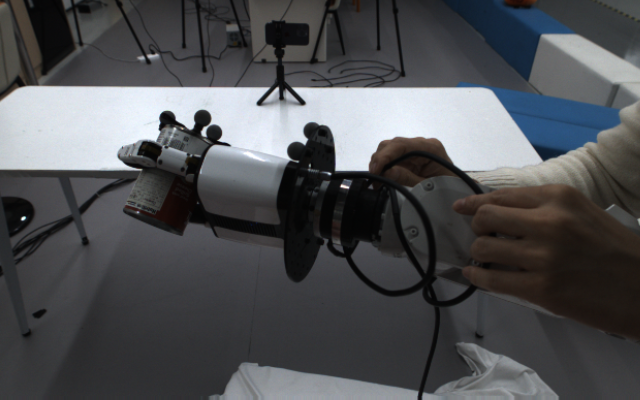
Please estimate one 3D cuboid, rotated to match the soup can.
[{"bbox_3d":[-0.157,-0.020,0.521,0.067,0.067,0.101,16,75,19],"label":"soup can"}]
